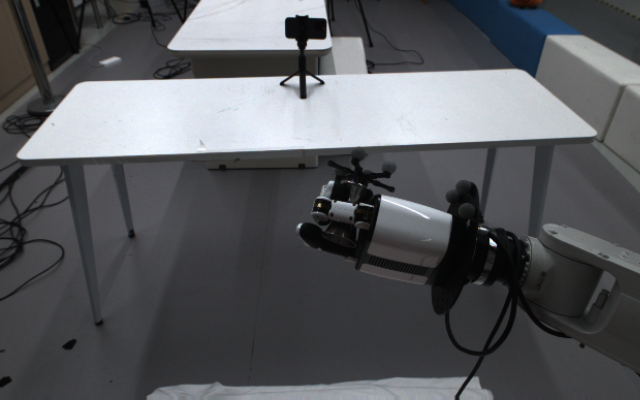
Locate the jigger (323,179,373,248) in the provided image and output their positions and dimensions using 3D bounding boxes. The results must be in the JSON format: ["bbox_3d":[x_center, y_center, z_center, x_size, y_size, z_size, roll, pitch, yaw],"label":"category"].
[{"bbox_3d":[0.036,0.016,0.573,0.043,0.043,0.071,15,70,17],"label":"jigger"}]
